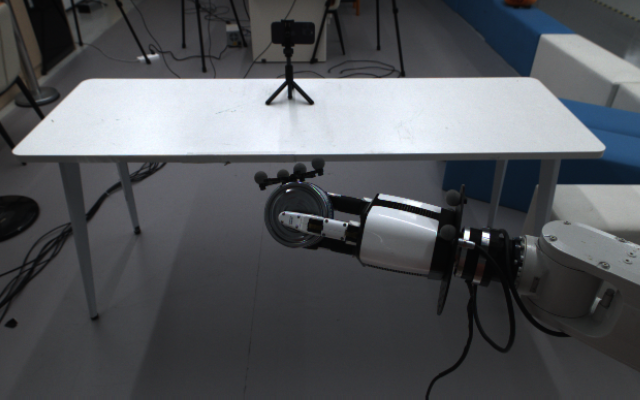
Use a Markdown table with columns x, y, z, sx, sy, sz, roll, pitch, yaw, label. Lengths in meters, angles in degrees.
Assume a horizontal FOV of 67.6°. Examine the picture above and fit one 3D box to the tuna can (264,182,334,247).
| x | y | z | sx | sy | sz | roll | pitch | yaw | label |
| --- | --- | --- | --- | --- | --- | --- | --- | --- | --- |
| -0.023 | 0.024 | 0.618 | 0.085 | 0.085 | 0.034 | 12 | 3 | 14 | tuna can |
